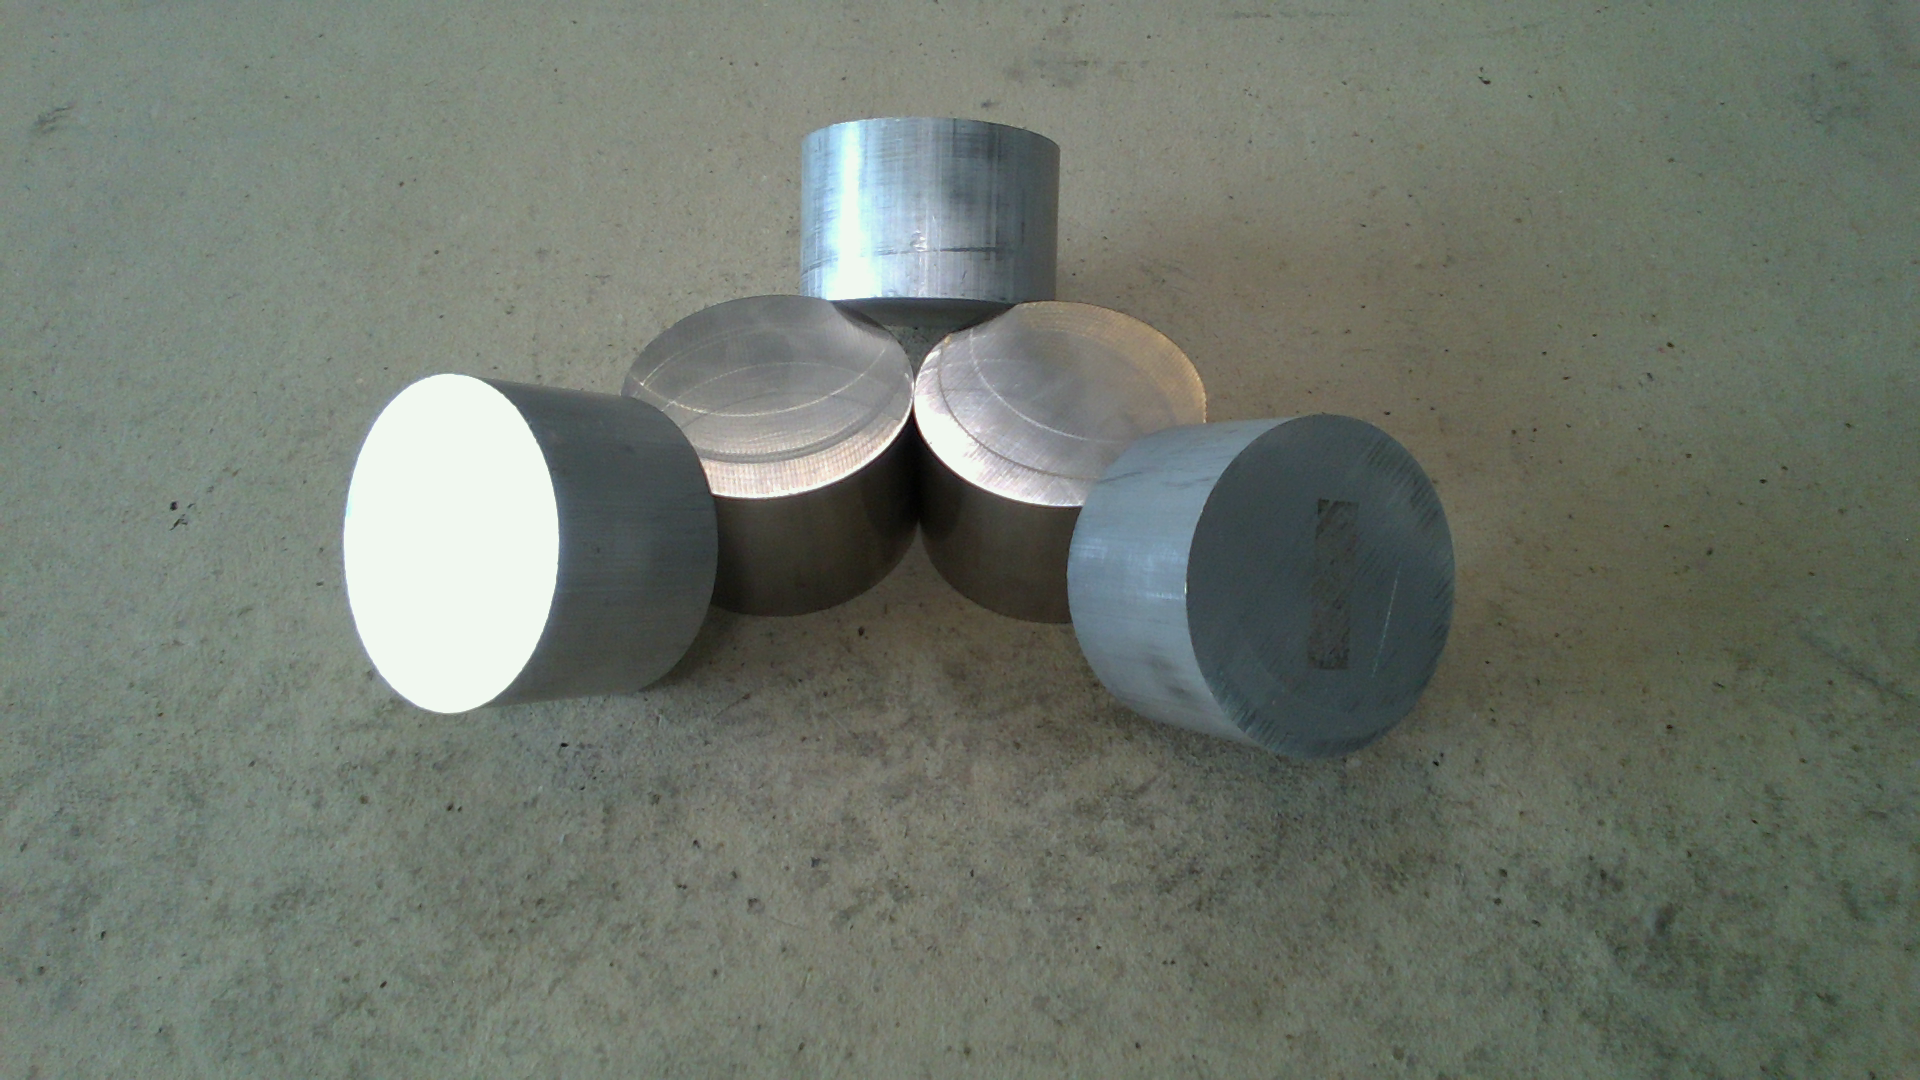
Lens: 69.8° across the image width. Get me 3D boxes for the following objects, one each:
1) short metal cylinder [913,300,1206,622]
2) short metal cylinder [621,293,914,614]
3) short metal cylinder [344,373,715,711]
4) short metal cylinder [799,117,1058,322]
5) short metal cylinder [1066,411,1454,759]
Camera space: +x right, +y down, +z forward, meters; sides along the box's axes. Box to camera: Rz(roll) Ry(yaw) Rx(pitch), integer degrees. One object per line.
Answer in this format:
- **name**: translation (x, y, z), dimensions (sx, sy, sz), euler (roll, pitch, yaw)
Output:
- **short metal cylinder**: translation (0.027, -0.024, 0.395), dimensions (0.080, 0.050, 0.080), euler (0, 49, 0)
- **short metal cylinder**: translation (-0.053, -0.026, 0.397), dimensions (0.080, 0.050, 0.080), euler (0, 49, 0)
- **short metal cylinder**: translation (-0.109, 0.001, 0.347), dimensions (0.080, 0.080, 0.050), euler (39, 20, 28)
- **short metal cylinder**: translation (-0.010, -0.096, 0.429), dimensions (0.080, 0.080, 0.050), euler (1, 92, 1)
- **short metal cylinder**: translation (0.073, 0.010, 0.339), dimensions (0.080, 0.080, 0.050), euler (-30, 14, -23)
